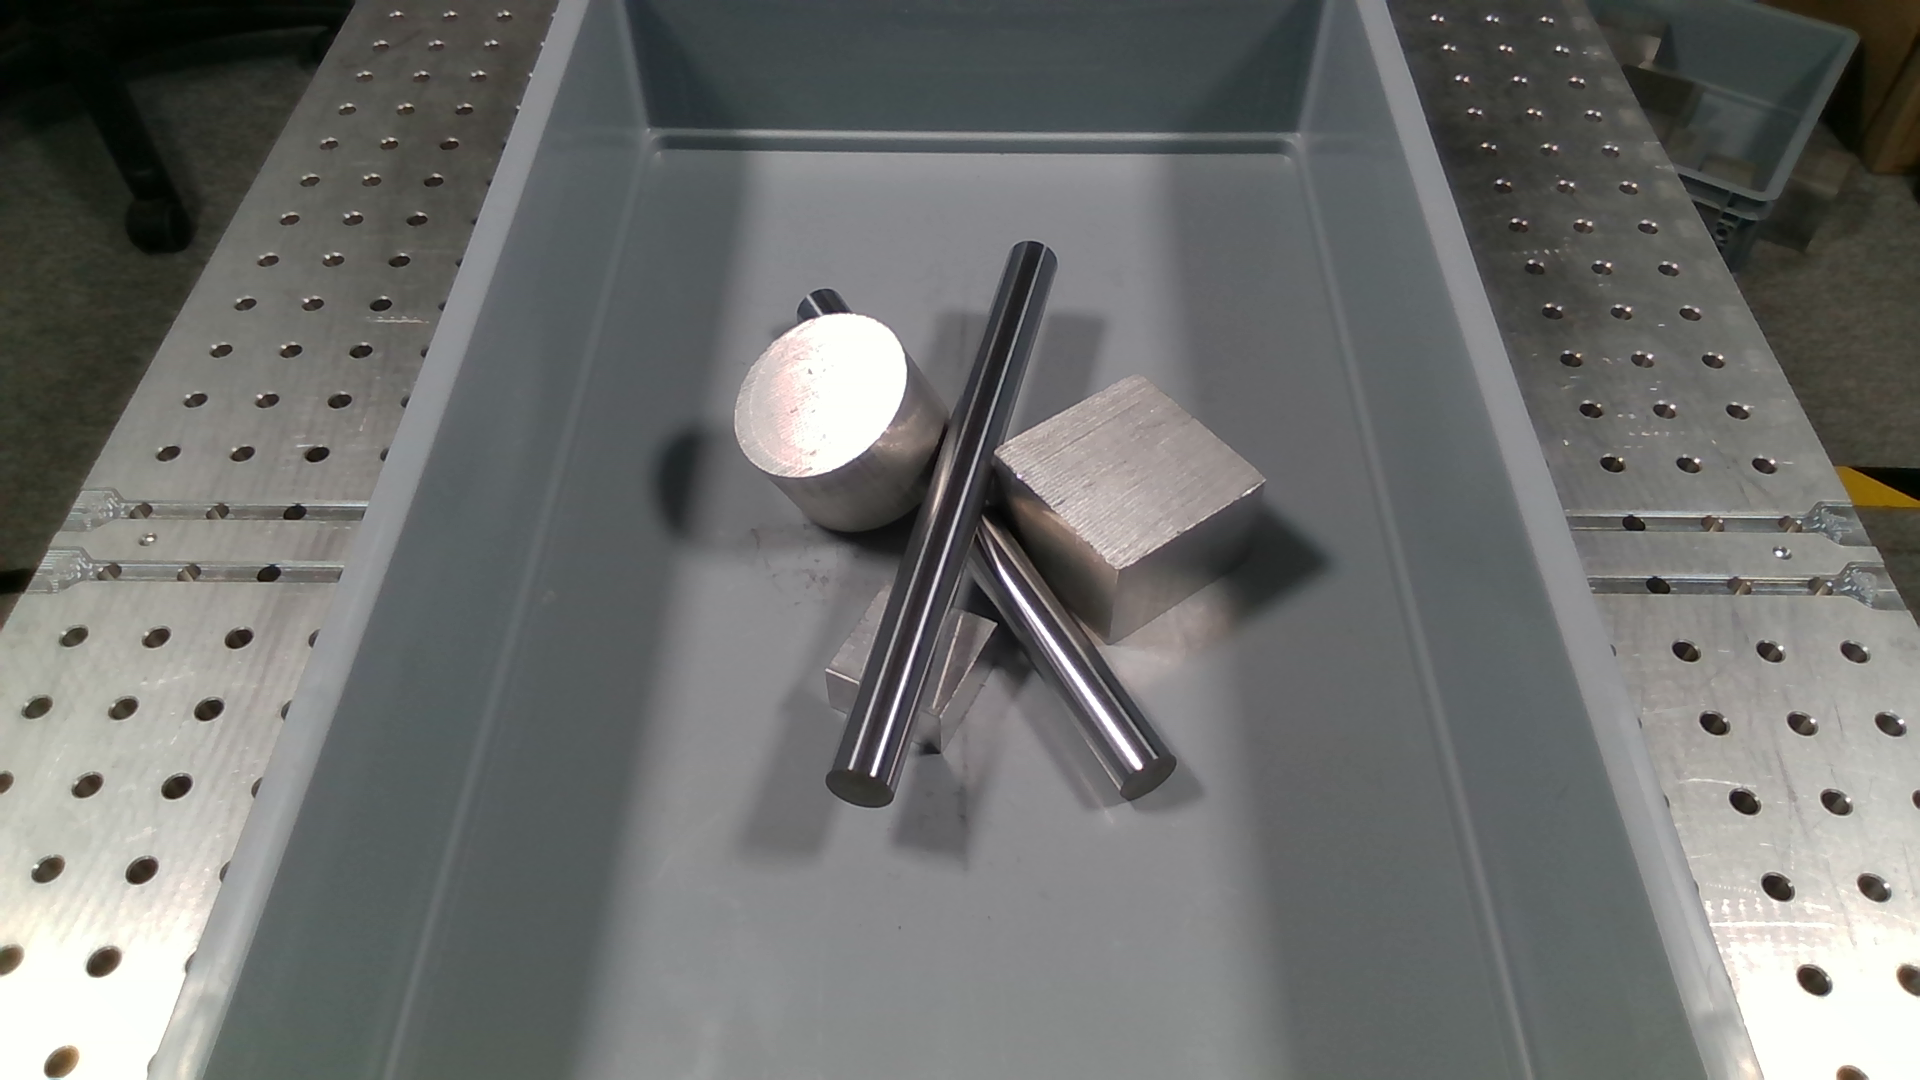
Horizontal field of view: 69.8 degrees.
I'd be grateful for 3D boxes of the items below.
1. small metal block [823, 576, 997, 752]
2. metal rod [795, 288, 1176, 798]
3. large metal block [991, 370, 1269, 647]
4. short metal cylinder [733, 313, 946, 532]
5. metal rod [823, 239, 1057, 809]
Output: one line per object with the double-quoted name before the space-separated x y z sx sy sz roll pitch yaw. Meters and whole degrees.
"small metal block" -0.019 0.048 0.543 0.050 0.025 0.050 21 53 17
"metal rod" 0.000 -0.013 0.596 0.025 0.025 0.299 -22 54 -17
"large metal block" 0.069 -0.015 0.581 0.080 0.050 0.080 -29 56 -22
"short metal cylinder" -0.050 -0.050 0.593 0.080 0.050 0.080 -10 61 19
"metal rod" -0.001 -0.024 0.573 0.025 0.025 0.299 11 51 9
